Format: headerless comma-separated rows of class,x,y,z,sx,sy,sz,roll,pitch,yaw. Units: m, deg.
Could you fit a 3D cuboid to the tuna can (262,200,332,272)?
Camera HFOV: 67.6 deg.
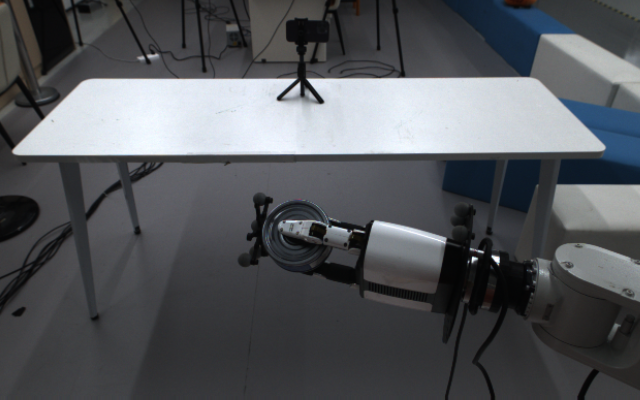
tuna can,-0.023,0.046,0.586,0.085,0.034,0.085,-2,69,6
